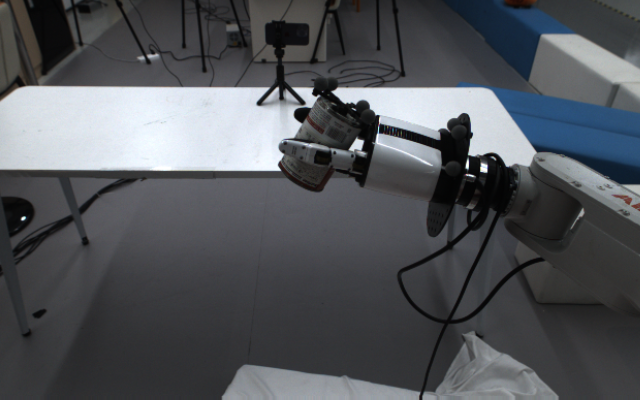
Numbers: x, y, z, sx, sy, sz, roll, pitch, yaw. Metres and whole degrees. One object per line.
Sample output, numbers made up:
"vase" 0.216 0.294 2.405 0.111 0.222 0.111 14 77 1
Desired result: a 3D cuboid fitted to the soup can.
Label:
"soup can" 0.002 -0.070 0.610 0.067 0.101 0.067 28 22 -12
